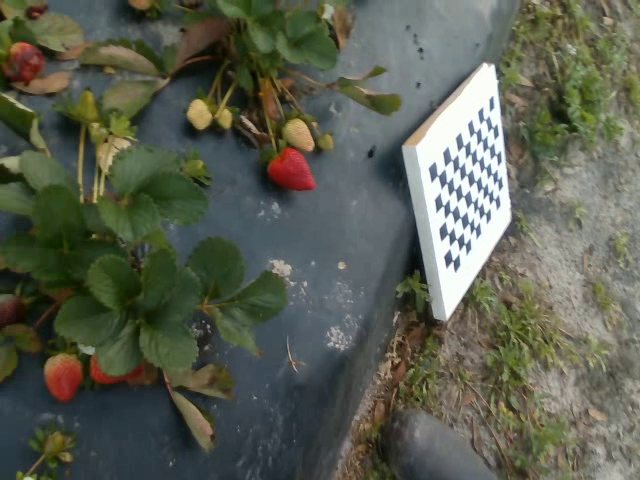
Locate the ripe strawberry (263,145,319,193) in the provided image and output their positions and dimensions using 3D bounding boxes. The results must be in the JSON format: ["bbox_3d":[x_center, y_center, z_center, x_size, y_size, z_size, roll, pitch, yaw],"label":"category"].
[{"bbox_3d":[-0.028,-0.074,0.696,0.059,0.050,0.034,35,-33,2],"label":"ripe strawberry"}]
